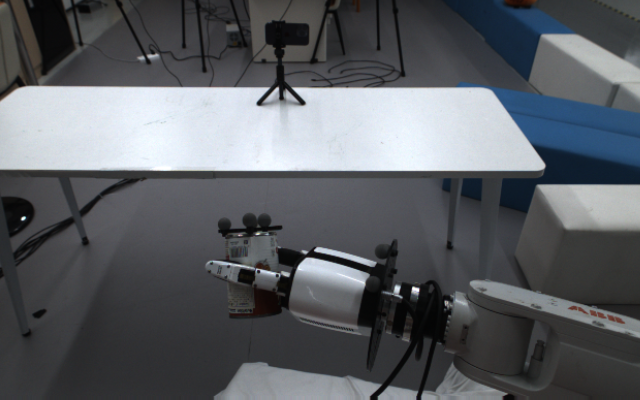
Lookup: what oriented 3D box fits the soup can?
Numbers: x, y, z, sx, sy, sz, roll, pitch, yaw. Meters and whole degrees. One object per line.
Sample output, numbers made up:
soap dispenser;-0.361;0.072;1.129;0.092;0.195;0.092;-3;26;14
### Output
soup can;-0.082;0.094;0.610;0.067;0.101;0.067;-5;-5;0
